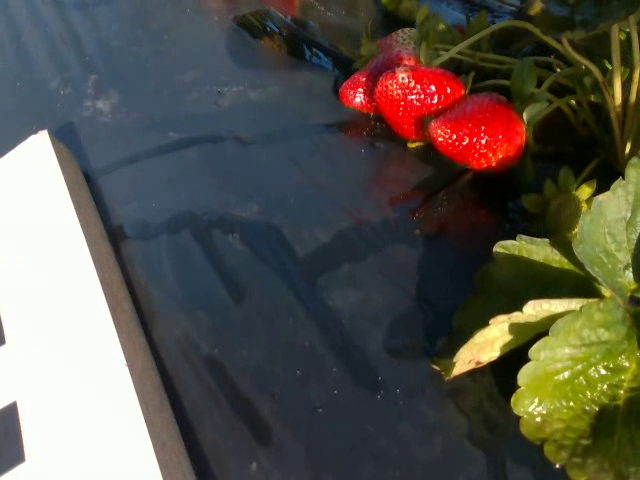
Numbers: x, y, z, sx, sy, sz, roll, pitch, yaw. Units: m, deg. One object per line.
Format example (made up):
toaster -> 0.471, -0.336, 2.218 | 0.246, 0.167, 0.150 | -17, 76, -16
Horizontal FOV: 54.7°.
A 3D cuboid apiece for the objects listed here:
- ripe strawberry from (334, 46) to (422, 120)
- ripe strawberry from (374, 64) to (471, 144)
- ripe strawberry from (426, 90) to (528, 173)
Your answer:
ripe strawberry -> 0.027, -0.072, 0.270 | 0.046, 0.023, 0.031 | -26, 46, -13
ripe strawberry -> 0.039, -0.059, 0.245 | 0.039, 0.030, 0.036 | 22, -59, -38
ripe strawberry -> 0.053, -0.040, 0.229 | 0.041, 0.033, 0.035 | 2, 31, -38
